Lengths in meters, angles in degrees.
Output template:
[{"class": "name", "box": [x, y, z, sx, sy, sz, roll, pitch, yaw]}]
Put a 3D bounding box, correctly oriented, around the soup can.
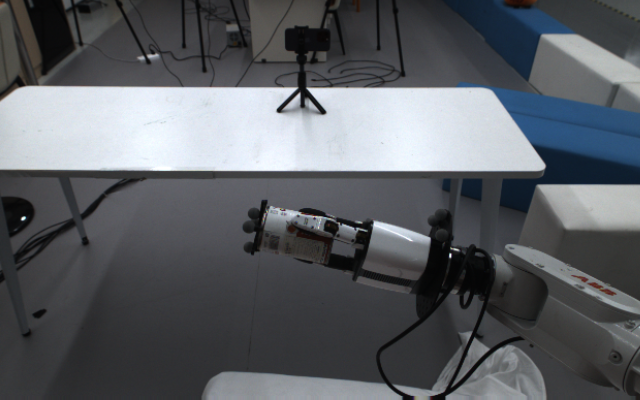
[{"class": "soup can", "box": [-0.030, 0.051, 0.695, 0.101, 0.067, 0.067, 11, 35, -1]}]
